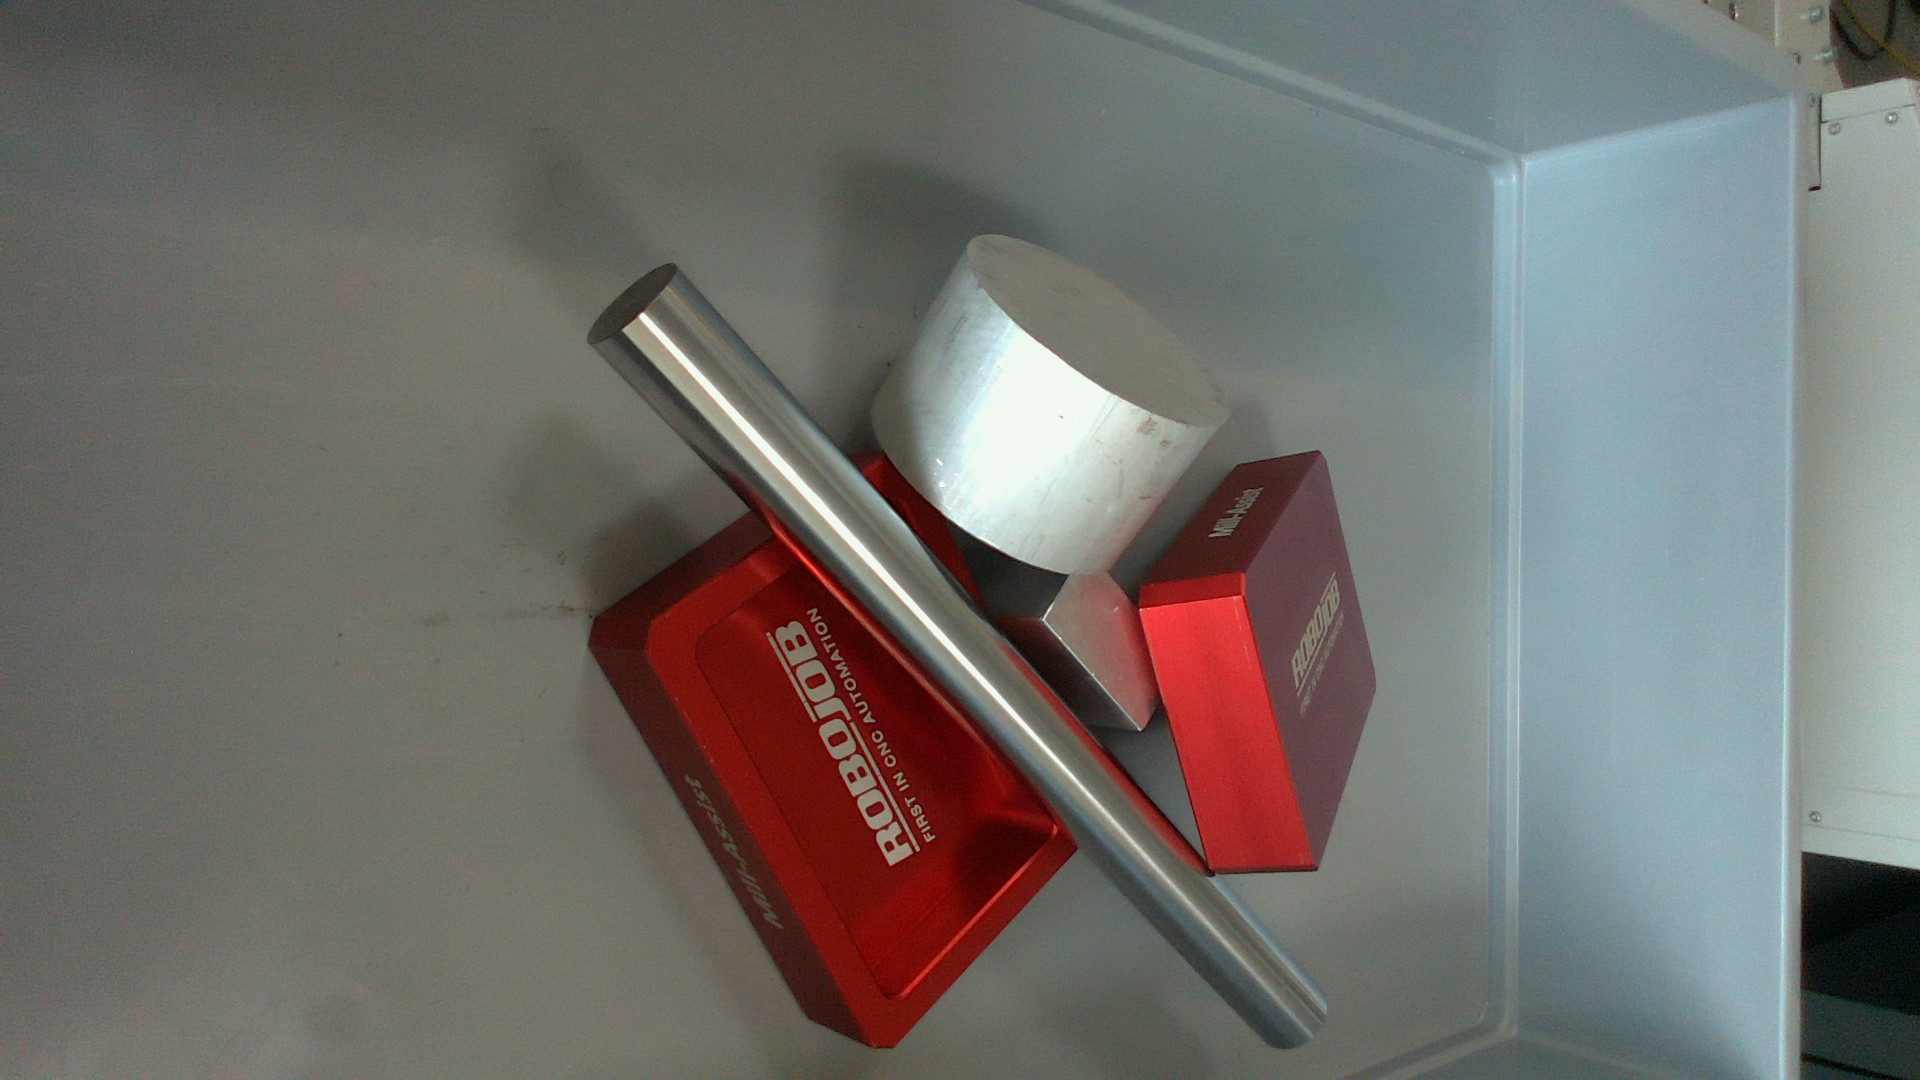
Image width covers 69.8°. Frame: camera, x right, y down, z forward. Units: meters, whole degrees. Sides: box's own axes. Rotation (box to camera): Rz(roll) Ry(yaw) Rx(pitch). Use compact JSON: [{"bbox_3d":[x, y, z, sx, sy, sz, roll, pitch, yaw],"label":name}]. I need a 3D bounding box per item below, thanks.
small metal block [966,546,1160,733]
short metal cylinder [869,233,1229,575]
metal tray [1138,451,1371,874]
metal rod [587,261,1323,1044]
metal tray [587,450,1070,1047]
[{"bbox_3d":[0.027,0.028,0.392,0.050,0.050,0.025,48,62,-29],"label":"small metal block"},{"bbox_3d":[0.023,-0.037,0.363,0.080,0.080,0.050,11,125,-39],"label":"short metal cylinder"},{"bbox_3d":[0.098,0.033,0.432,0.130,0.030,0.090,-40,117,-59],"label":"metal tray"},{"bbox_3d":[0.017,0.049,0.363,0.301,0.025,0.025,49,61,-29],"label":"metal rod"},{"bbox_3d":[-0.026,0.053,0.362,0.090,0.030,0.130,-39,114,-33],"label":"metal tray"}]
